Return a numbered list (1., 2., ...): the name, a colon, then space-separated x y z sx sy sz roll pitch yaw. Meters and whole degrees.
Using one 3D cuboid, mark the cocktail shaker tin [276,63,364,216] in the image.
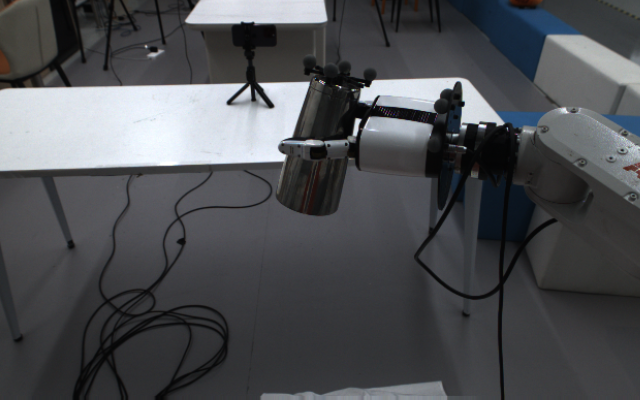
1. cocktail shaker tin: 0.003 -0.077 0.651 0.093 0.170 0.093 12 24 -5
